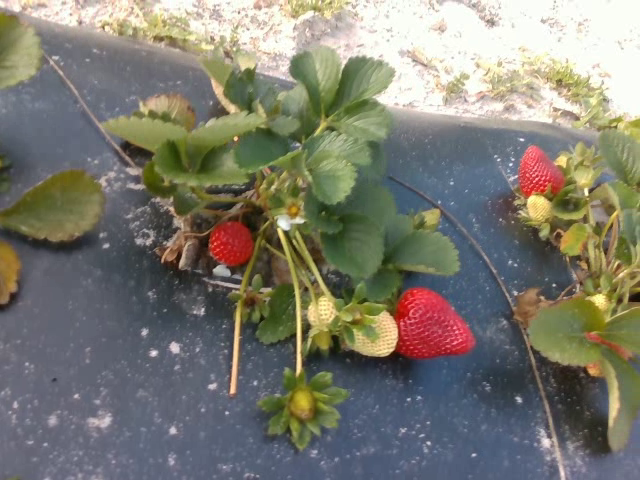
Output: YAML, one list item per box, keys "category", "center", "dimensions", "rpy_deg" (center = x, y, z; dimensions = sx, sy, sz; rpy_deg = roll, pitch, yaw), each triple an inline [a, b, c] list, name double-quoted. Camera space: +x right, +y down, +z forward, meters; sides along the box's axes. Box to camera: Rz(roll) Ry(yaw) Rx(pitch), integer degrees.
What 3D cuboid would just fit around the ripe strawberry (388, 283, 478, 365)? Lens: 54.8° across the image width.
- category: "ripe strawberry"
  center: [0.077, 0.062, 0.403]
  dimensions: [0.055, 0.051, 0.048]
  rpy_deg: [28, -5, 35]
